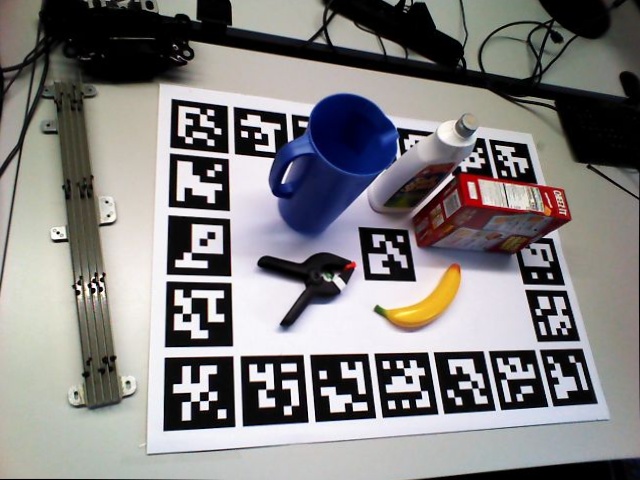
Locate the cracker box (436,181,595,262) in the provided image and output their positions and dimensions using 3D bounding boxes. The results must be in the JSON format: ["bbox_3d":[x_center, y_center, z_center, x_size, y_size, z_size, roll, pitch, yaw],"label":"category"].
[{"bbox_3d":[0.339,-0.029,0.928,0.213,0.165,0.071,4,62,-17],"label":"cracker box"}]

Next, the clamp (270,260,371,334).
[{"bbox_3d":[0.011,0.077,0.851,0.164,0.037,0.121,-14,70,-27],"label":"clamp"}]

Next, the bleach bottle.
[{"bbox_3d":[0.194,-0.115,0.884,0.102,0.252,0.067,2,65,-19],"label":"bleach bottle"}]

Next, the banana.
[{"bbox_3d":[0.219,0.111,0.919,0.196,0.039,0.074,-33,80,-29],"label":"banana"}]

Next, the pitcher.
[{"bbox_3d":[0.027,-0.094,0.792,0.188,0.244,0.133,-16,72,-28],"label":"pitcher"}]
